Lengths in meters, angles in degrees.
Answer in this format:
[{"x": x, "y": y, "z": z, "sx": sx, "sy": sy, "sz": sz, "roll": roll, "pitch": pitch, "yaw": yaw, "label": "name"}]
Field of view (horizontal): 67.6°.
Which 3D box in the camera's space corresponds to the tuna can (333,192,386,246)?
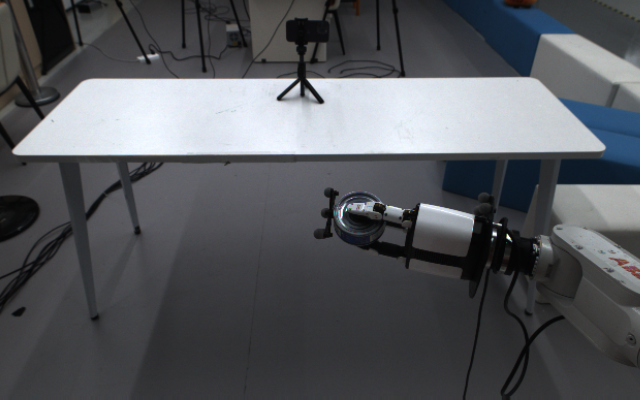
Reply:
[{"x": 0.067, "y": 0.032, "z": 0.776, "sx": 0.085, "sy": 0.034, "sz": 0.085, "roll": -2, "pitch": 58, "yaw": 3, "label": "tuna can"}]
